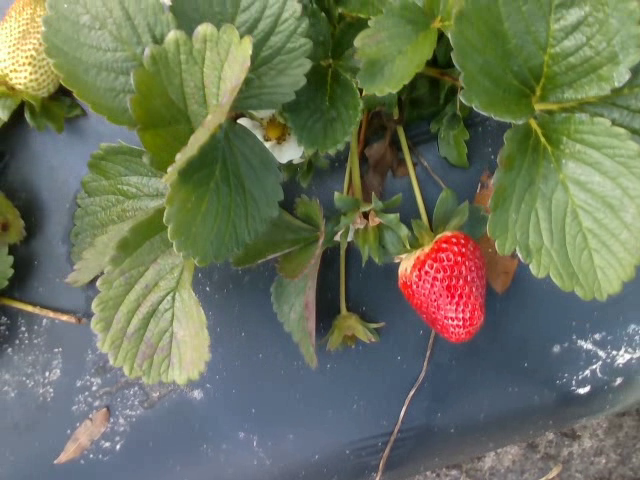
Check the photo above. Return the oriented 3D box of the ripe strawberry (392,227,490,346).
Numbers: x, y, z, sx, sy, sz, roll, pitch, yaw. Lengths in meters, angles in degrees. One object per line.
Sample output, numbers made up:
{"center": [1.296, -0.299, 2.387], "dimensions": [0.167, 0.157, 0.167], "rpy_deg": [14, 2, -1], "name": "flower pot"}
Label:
{"center": [0.061, 0.027, 0.285], "dimensions": [0.050, 0.053, 0.049], "rpy_deg": [-18, -24, 6], "name": "ripe strawberry"}
